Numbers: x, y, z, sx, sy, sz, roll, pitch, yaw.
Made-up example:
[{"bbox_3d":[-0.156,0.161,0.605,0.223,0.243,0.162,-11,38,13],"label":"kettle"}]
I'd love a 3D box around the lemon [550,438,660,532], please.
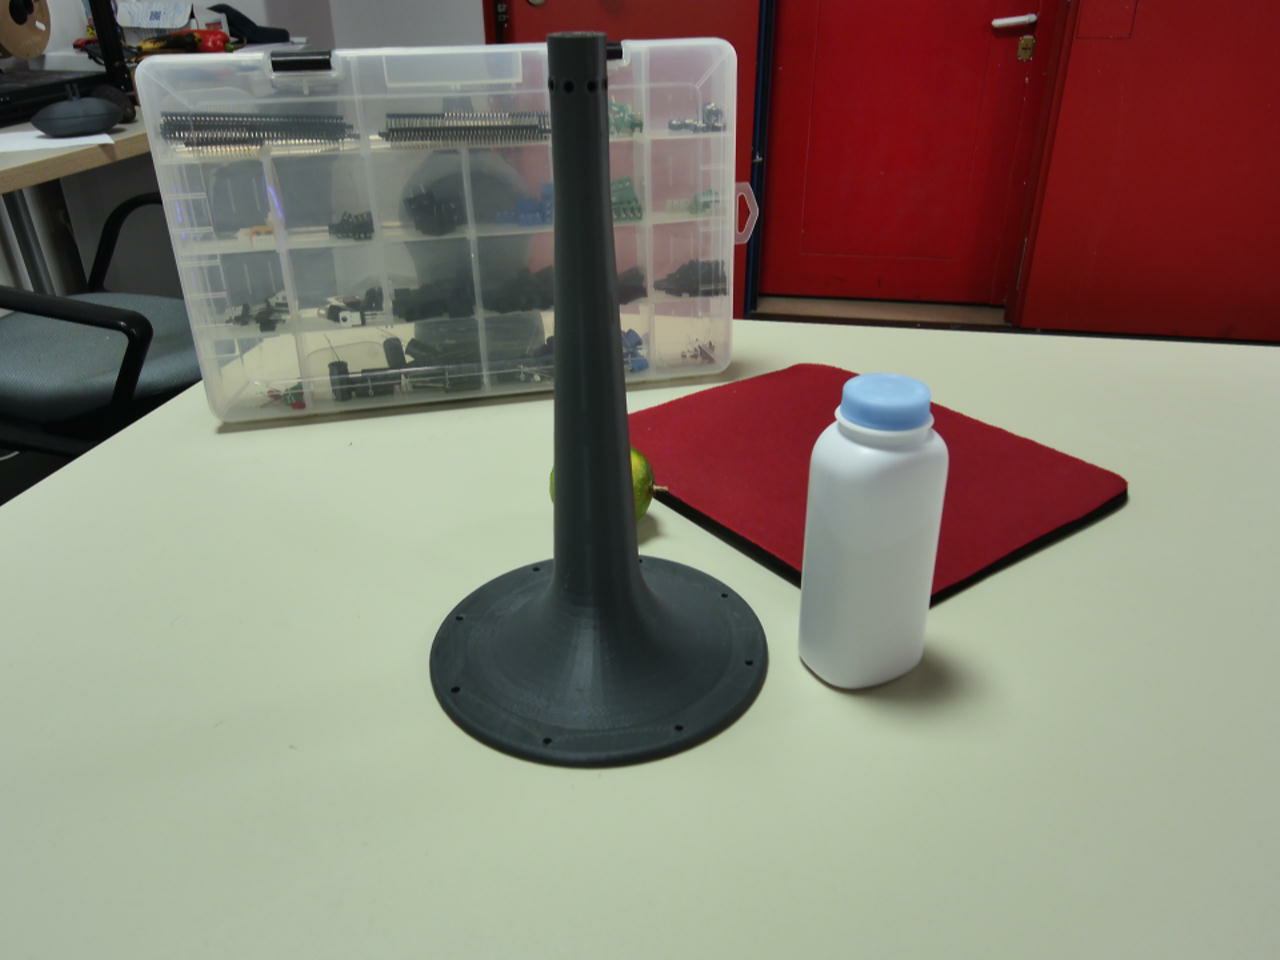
[{"bbox_3d":[-0.021,0.002,0.542,0.054,0.050,0.055,-12,28,-25],"label":"lemon"}]
